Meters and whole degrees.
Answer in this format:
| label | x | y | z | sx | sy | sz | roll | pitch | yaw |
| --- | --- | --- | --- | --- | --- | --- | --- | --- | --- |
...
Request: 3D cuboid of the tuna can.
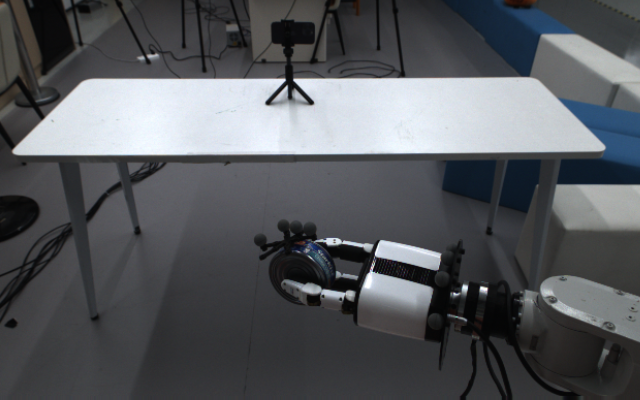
| label | x | y | z | sx | sy | sz | roll | pitch | yaw |
| --- | --- | --- | --- | --- | --- | --- | --- | --- | --- |
| tuna can | -0.020 | 0.103 | 0.640 | 0.085 | 0.085 | 0.034 | 15 | 30 | 18 |
